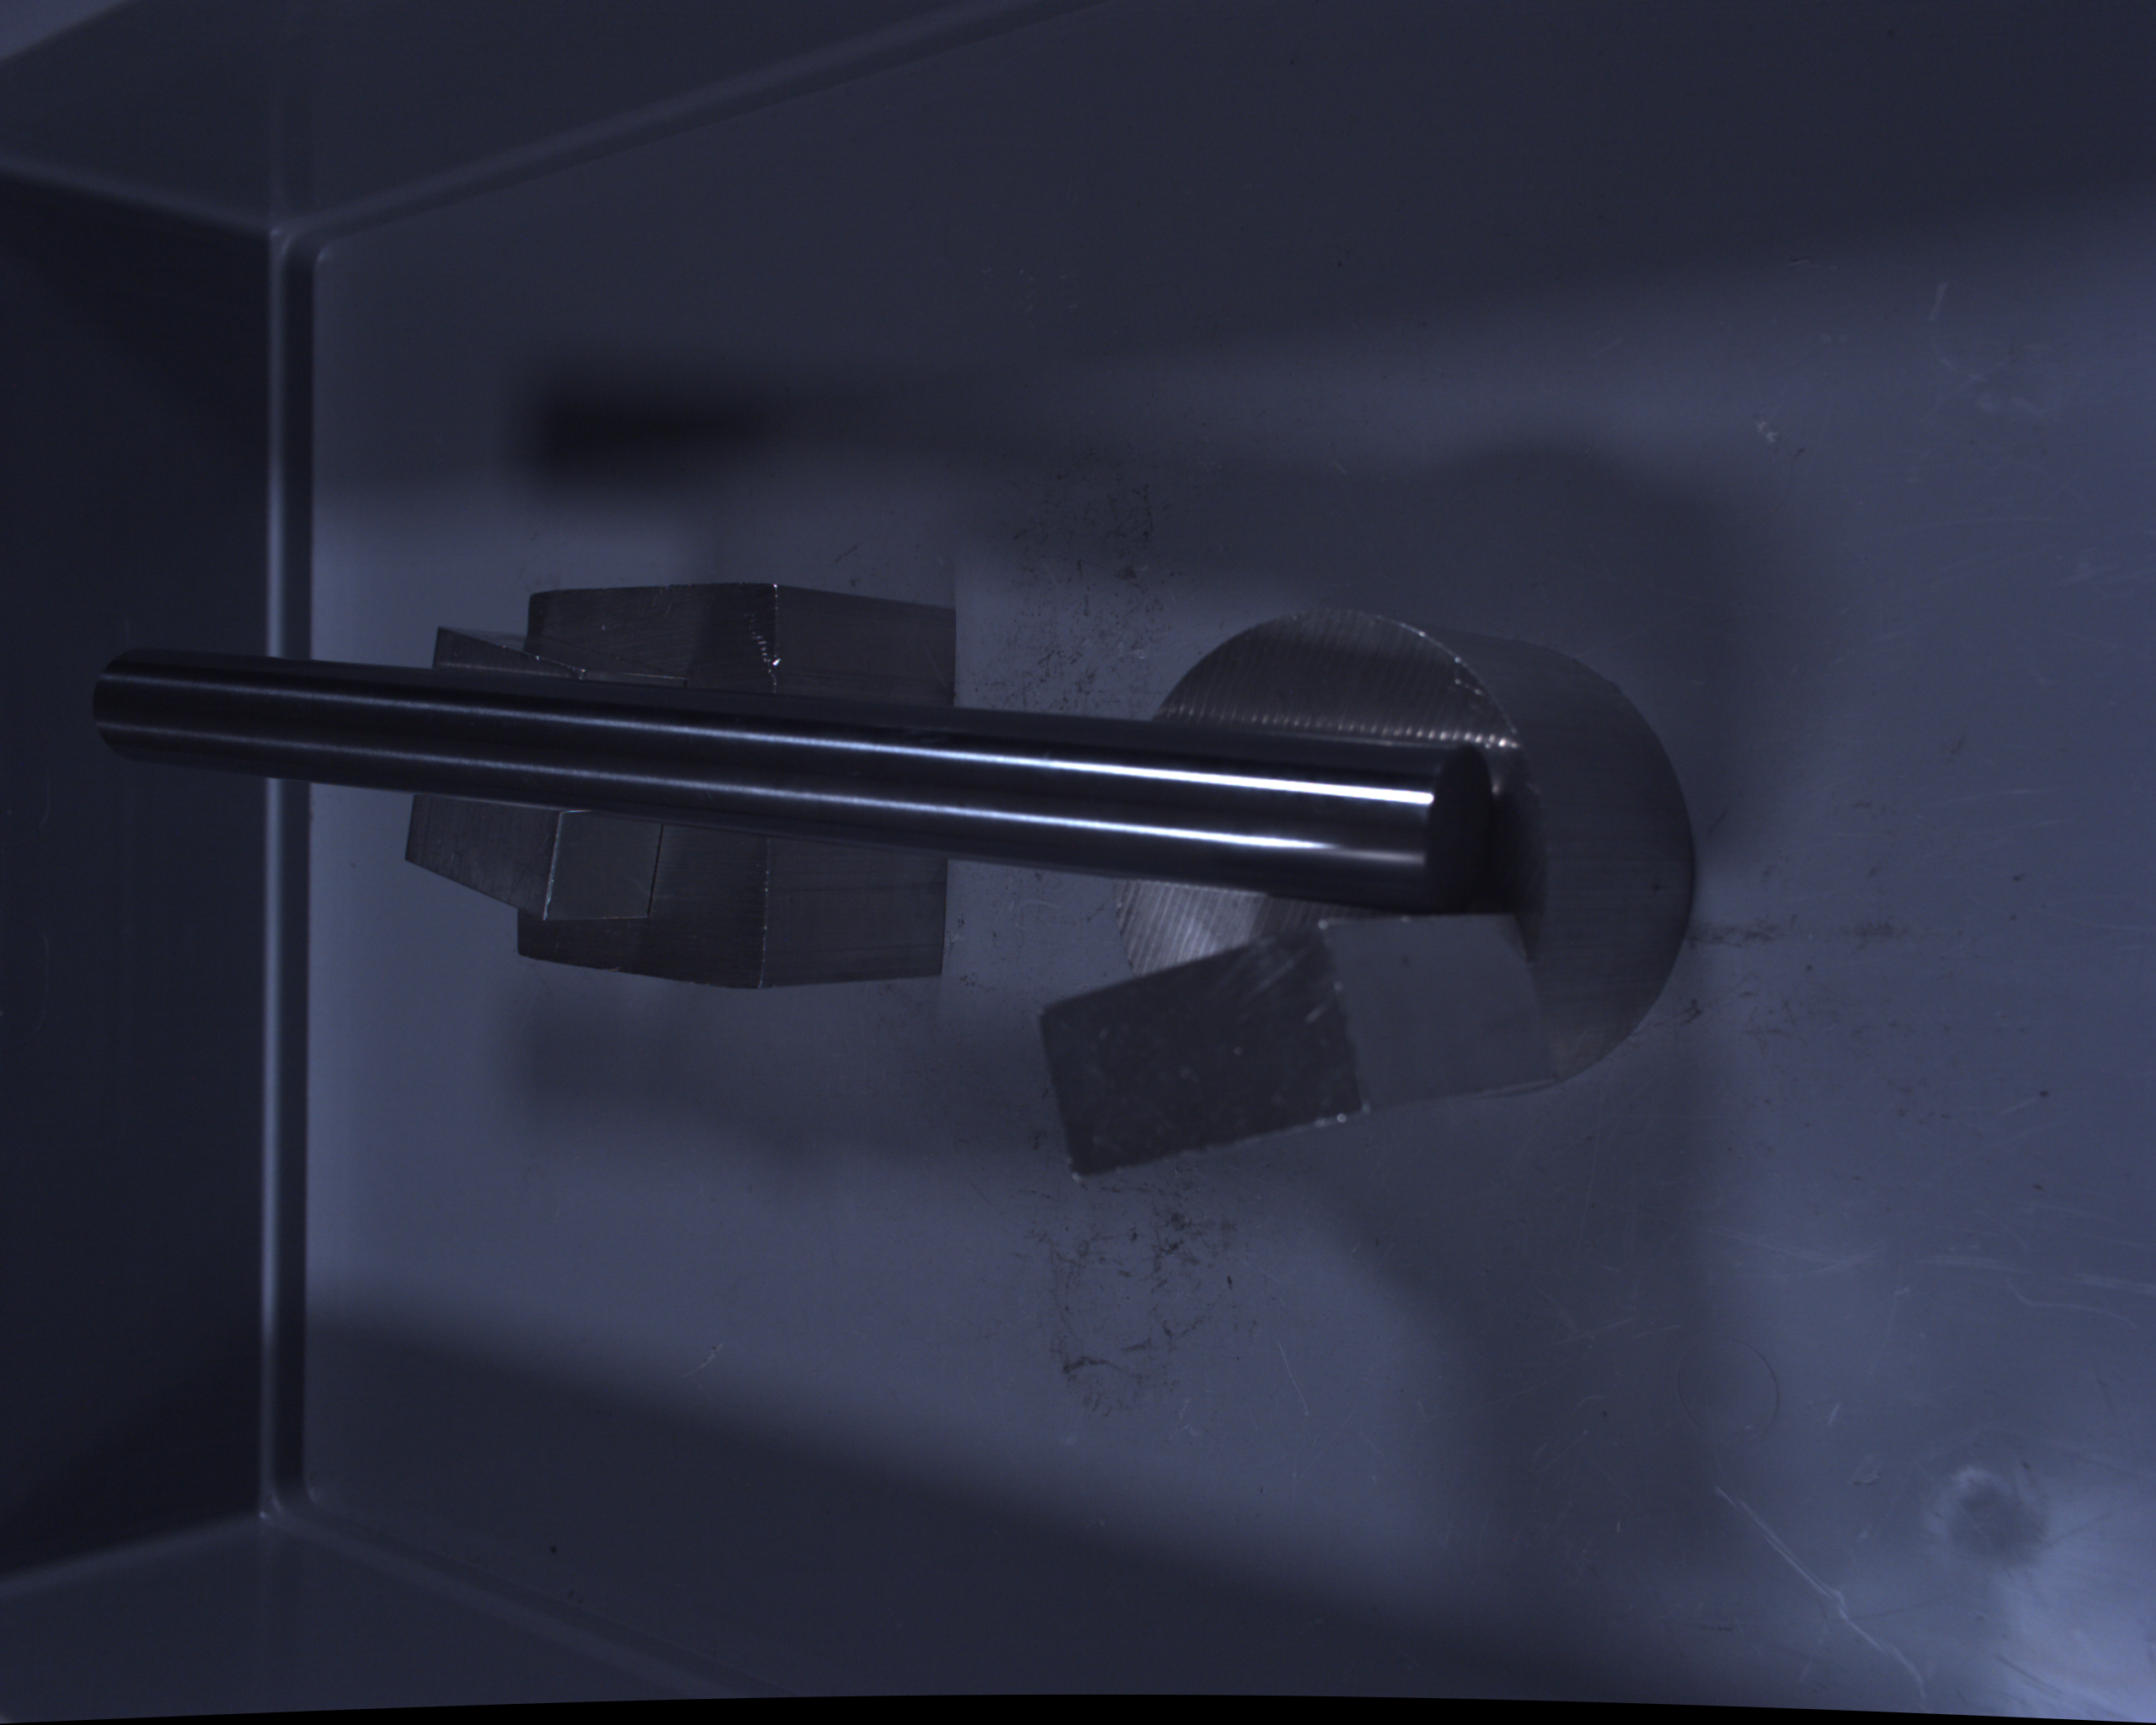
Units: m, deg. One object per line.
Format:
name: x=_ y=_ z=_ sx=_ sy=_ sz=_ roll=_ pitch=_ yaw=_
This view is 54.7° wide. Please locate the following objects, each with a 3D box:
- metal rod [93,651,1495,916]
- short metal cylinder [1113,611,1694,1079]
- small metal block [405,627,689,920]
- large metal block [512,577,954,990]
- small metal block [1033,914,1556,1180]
metal rod: x=-0.073 y=-0.018 z=0.371 sx=0.300 sy=0.025 sz=0.025 roll=7 pitch=94 yaw=31
short metal cylinder: x=0.053 y=0.001 z=0.343 sx=0.080 sy=0.050 sz=0.079 roll=0 pitch=90 yaw=39
small metal block: x=-0.109 y=-0.019 z=0.427 sx=0.050 sy=0.025 sz=0.050 roll=17 pitch=100 yaw=38
large metal block: x=-0.075 y=-0.017 z=0.446 sx=0.080 sy=0.050 sz=0.079 roll=4 pitch=92 yaw=39
small metal block: x=0.031 y=0.026 z=0.295 sx=0.050 sy=0.050 sz=0.025 roll=-18 pitch=79 yaw=38
